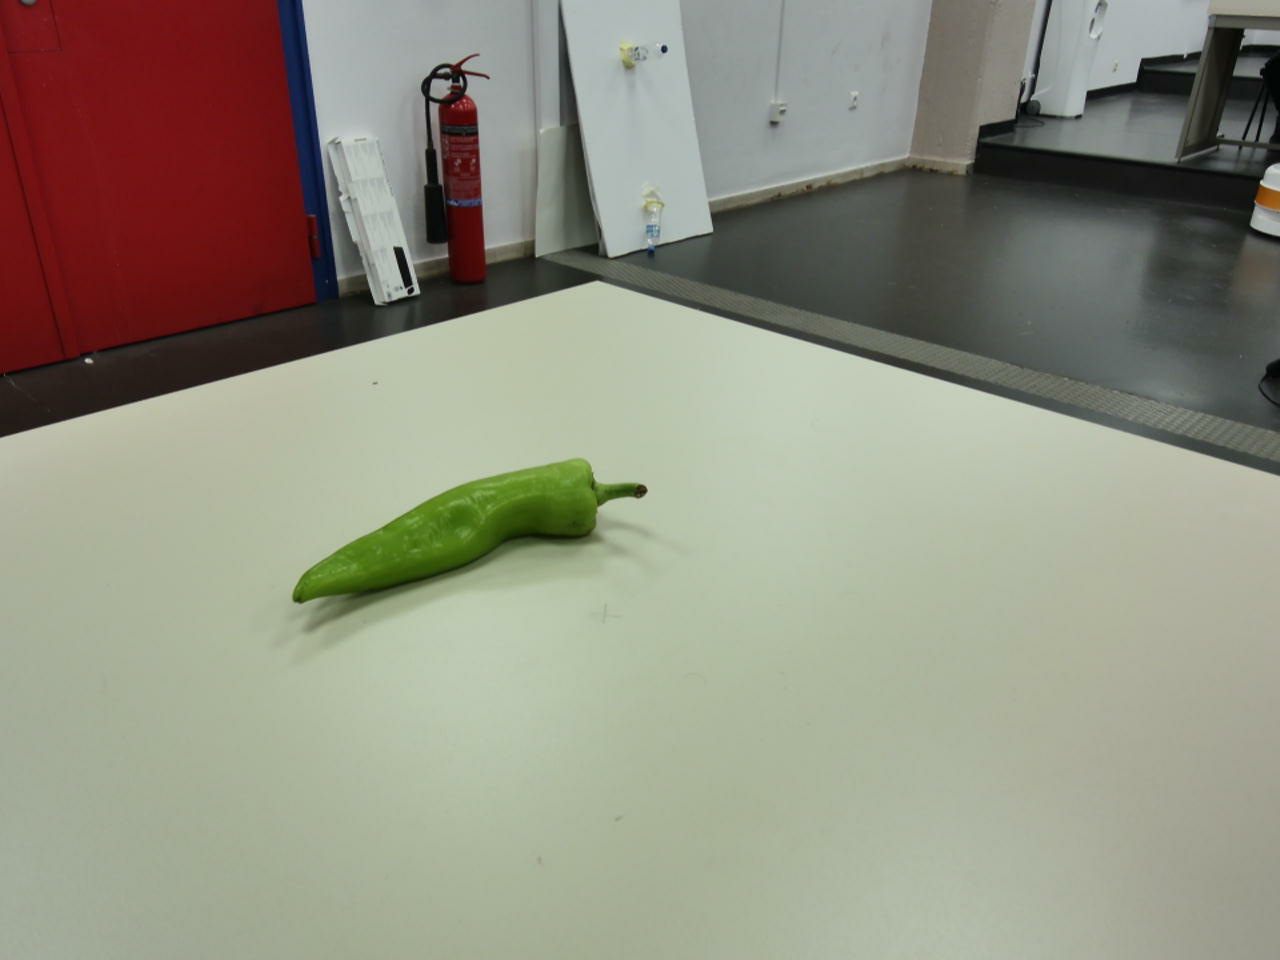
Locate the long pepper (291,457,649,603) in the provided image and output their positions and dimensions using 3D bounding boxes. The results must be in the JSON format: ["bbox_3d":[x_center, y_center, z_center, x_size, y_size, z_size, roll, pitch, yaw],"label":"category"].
[{"bbox_3d":[-0.098,0.026,0.565,0.204,0.045,0.065,-15,29,-29],"label":"long pepper"}]
